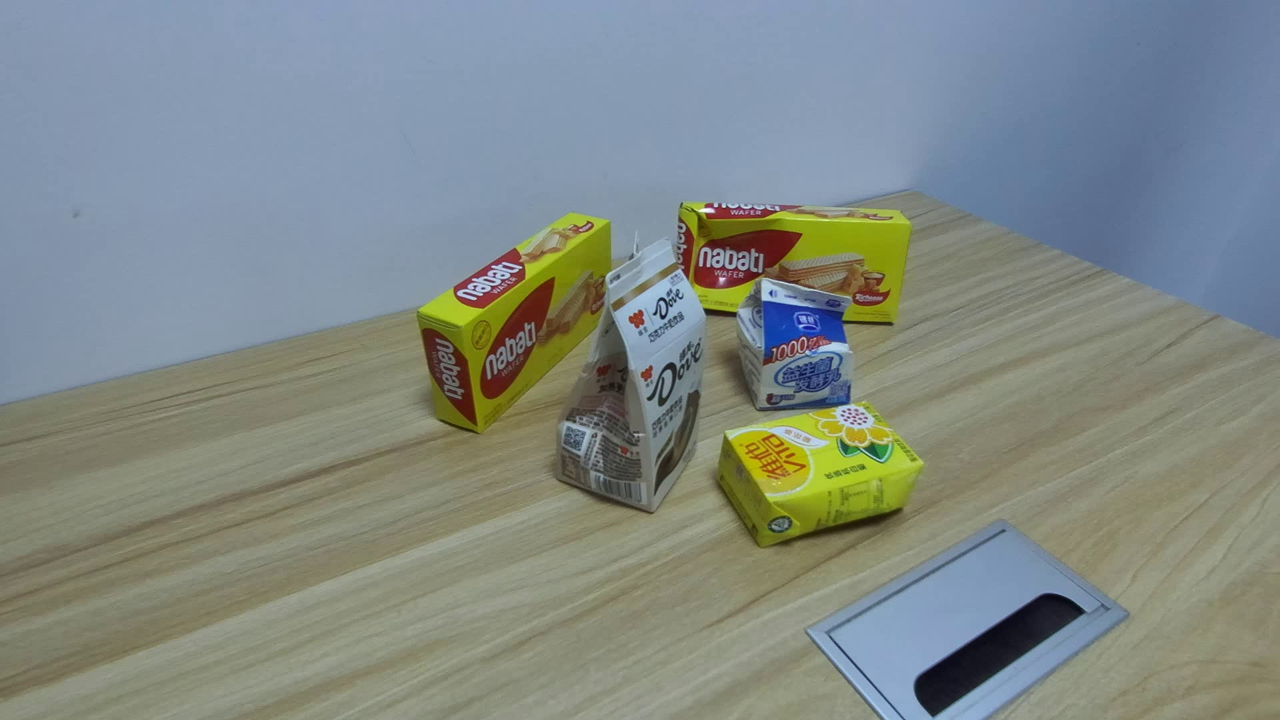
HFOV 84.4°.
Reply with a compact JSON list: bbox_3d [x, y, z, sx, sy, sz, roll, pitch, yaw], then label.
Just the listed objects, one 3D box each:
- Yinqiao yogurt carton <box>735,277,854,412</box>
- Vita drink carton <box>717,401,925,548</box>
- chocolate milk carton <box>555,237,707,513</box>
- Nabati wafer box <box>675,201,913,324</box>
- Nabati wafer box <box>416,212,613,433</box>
[{"bbox_3d":[0.118,-0.021,0.534,0.083,0.093,0.077,-2,35,-5],"label":"Yinqiao yogurt carton"},{"bbox_3d":[0.113,0.072,0.445,0.109,0.043,0.076,-9,38,-19],"label":"Vita drink carton"},{"bbox_3d":[-0.007,0.007,0.438,0.073,0.155,0.084,16,36,21],"label":"chocolate milk carton"},{"bbox_3d":[0.134,-0.087,0.637,0.203,0.096,0.042,4,24,1],"label":"Nabati wafer box"},{"bbox_3d":[-0.087,-0.038,0.565,0.042,0.093,0.203,16,37,22],"label":"Nabati wafer box"}]
